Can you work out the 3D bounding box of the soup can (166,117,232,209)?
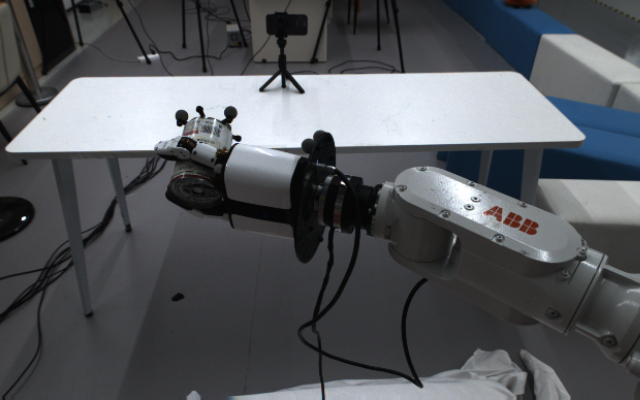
[{"bbox_3d":[-0.153,-0.049,0.625,0.067,0.067,0.101,3,56,1],"label":"soup can"}]
